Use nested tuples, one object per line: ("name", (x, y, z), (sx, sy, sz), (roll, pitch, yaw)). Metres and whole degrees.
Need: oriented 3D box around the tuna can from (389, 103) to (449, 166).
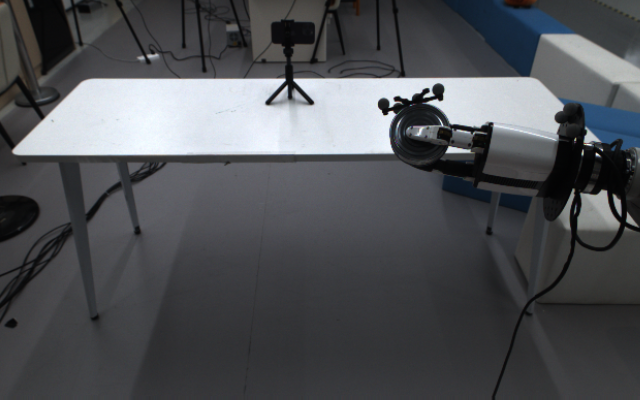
("tuna can", (0.144, -0.096, 0.690), (0.085, 0.085, 0.034), (12, -6, 14))
